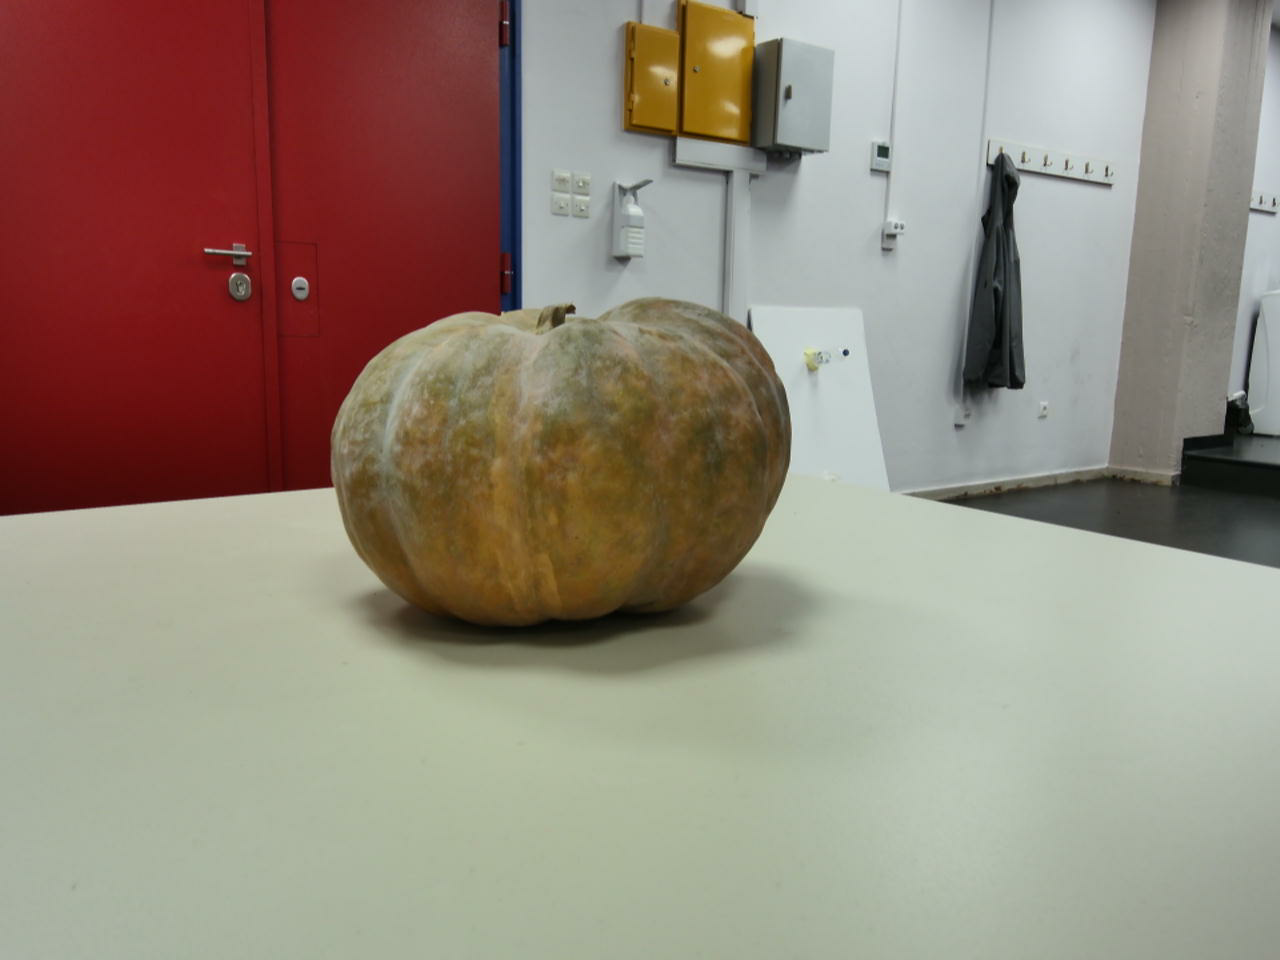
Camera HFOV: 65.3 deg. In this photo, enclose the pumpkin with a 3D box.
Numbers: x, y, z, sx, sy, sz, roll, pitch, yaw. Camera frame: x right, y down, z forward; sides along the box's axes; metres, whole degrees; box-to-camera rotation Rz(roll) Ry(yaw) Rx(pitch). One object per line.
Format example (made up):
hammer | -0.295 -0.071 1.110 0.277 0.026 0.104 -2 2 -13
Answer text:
pumpkin | -0.044 -0.015 0.547 0.252 0.168 0.252 0 8 0
